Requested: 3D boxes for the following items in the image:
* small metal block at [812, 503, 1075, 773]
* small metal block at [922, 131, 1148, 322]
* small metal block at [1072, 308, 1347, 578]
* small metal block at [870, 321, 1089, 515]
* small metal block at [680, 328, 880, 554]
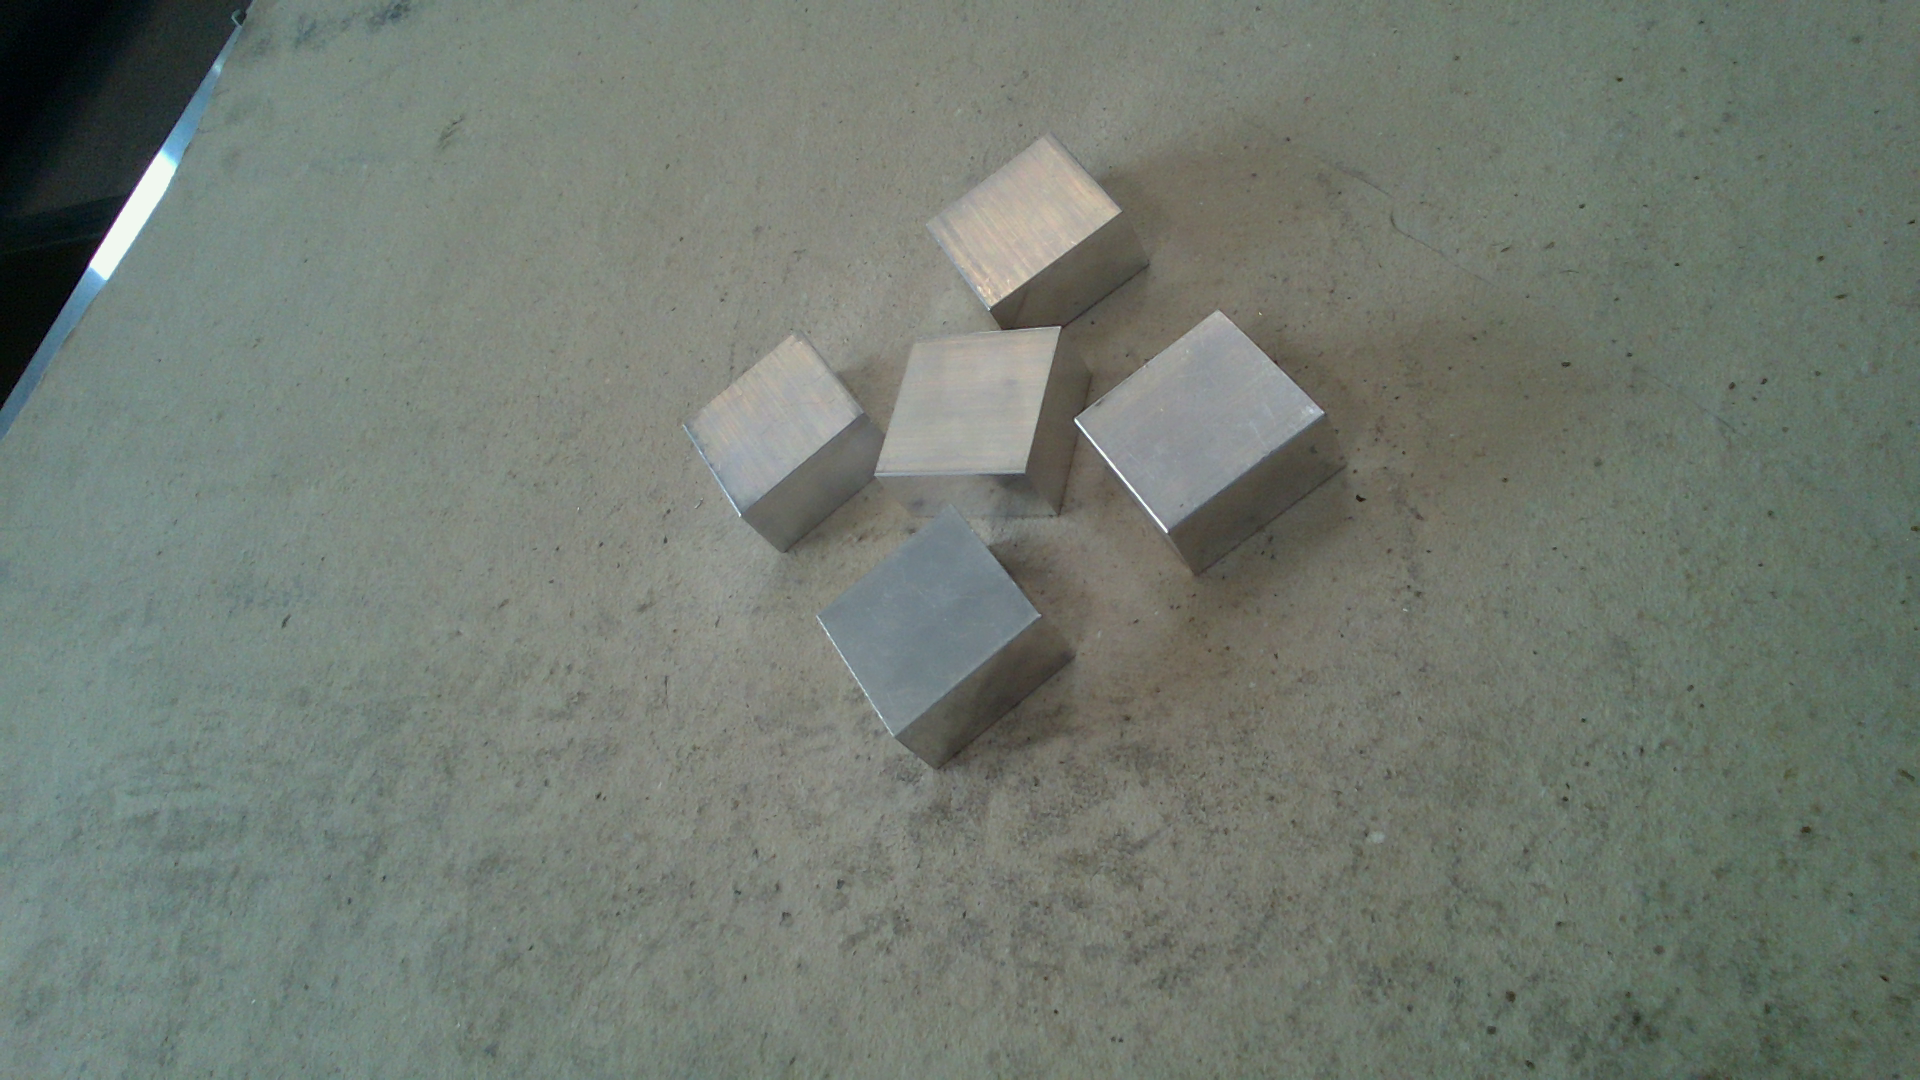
[{"bbox_3d":[-0.005,0.027,0.381,0.050,0.025,0.050,-39,51,1],"label":"small metal block"},{"bbox_3d":[0.023,-0.095,0.439,0.050,0.025,0.050,-35,50,4],"label":"small metal block"},{"bbox_3d":[0.067,-0.027,0.375,0.050,0.025,0.050,-37,51,4],"label":"small metal block"},{"bbox_3d":[0.007,-0.036,0.412,0.050,0.025,0.050,0,62,29],"label":"small metal block"},{"bbox_3d":[-0.055,-0.033,0.444,0.050,0.025,0.050,-39,51,0],"label":"small metal block"}]
